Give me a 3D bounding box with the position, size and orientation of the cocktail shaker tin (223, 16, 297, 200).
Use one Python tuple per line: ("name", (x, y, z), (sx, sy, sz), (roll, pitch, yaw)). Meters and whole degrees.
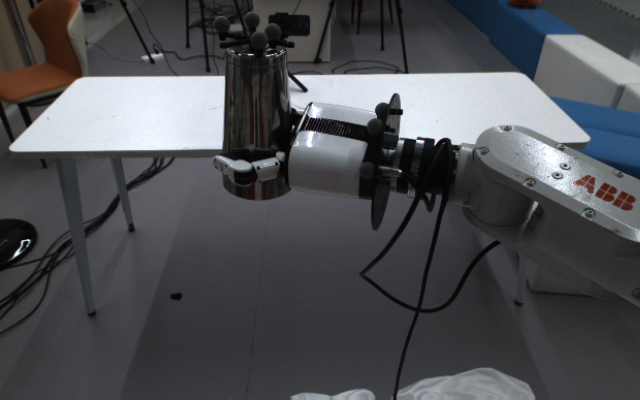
("cocktail shaker tin", (-0.072, -0.095, 0.573), (0.093, 0.170, 0.093), (2, 34, -2))
